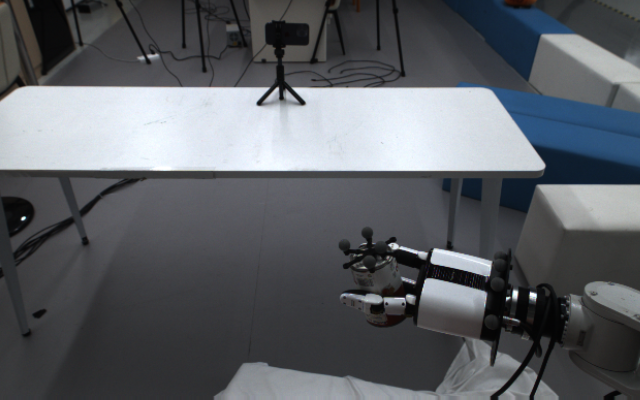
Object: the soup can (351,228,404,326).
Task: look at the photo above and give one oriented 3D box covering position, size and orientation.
[{"bbox_3d":[0.089,0.123,0.698,0.067,0.101,0.067,-16,23,7],"label":"soup can"}]
